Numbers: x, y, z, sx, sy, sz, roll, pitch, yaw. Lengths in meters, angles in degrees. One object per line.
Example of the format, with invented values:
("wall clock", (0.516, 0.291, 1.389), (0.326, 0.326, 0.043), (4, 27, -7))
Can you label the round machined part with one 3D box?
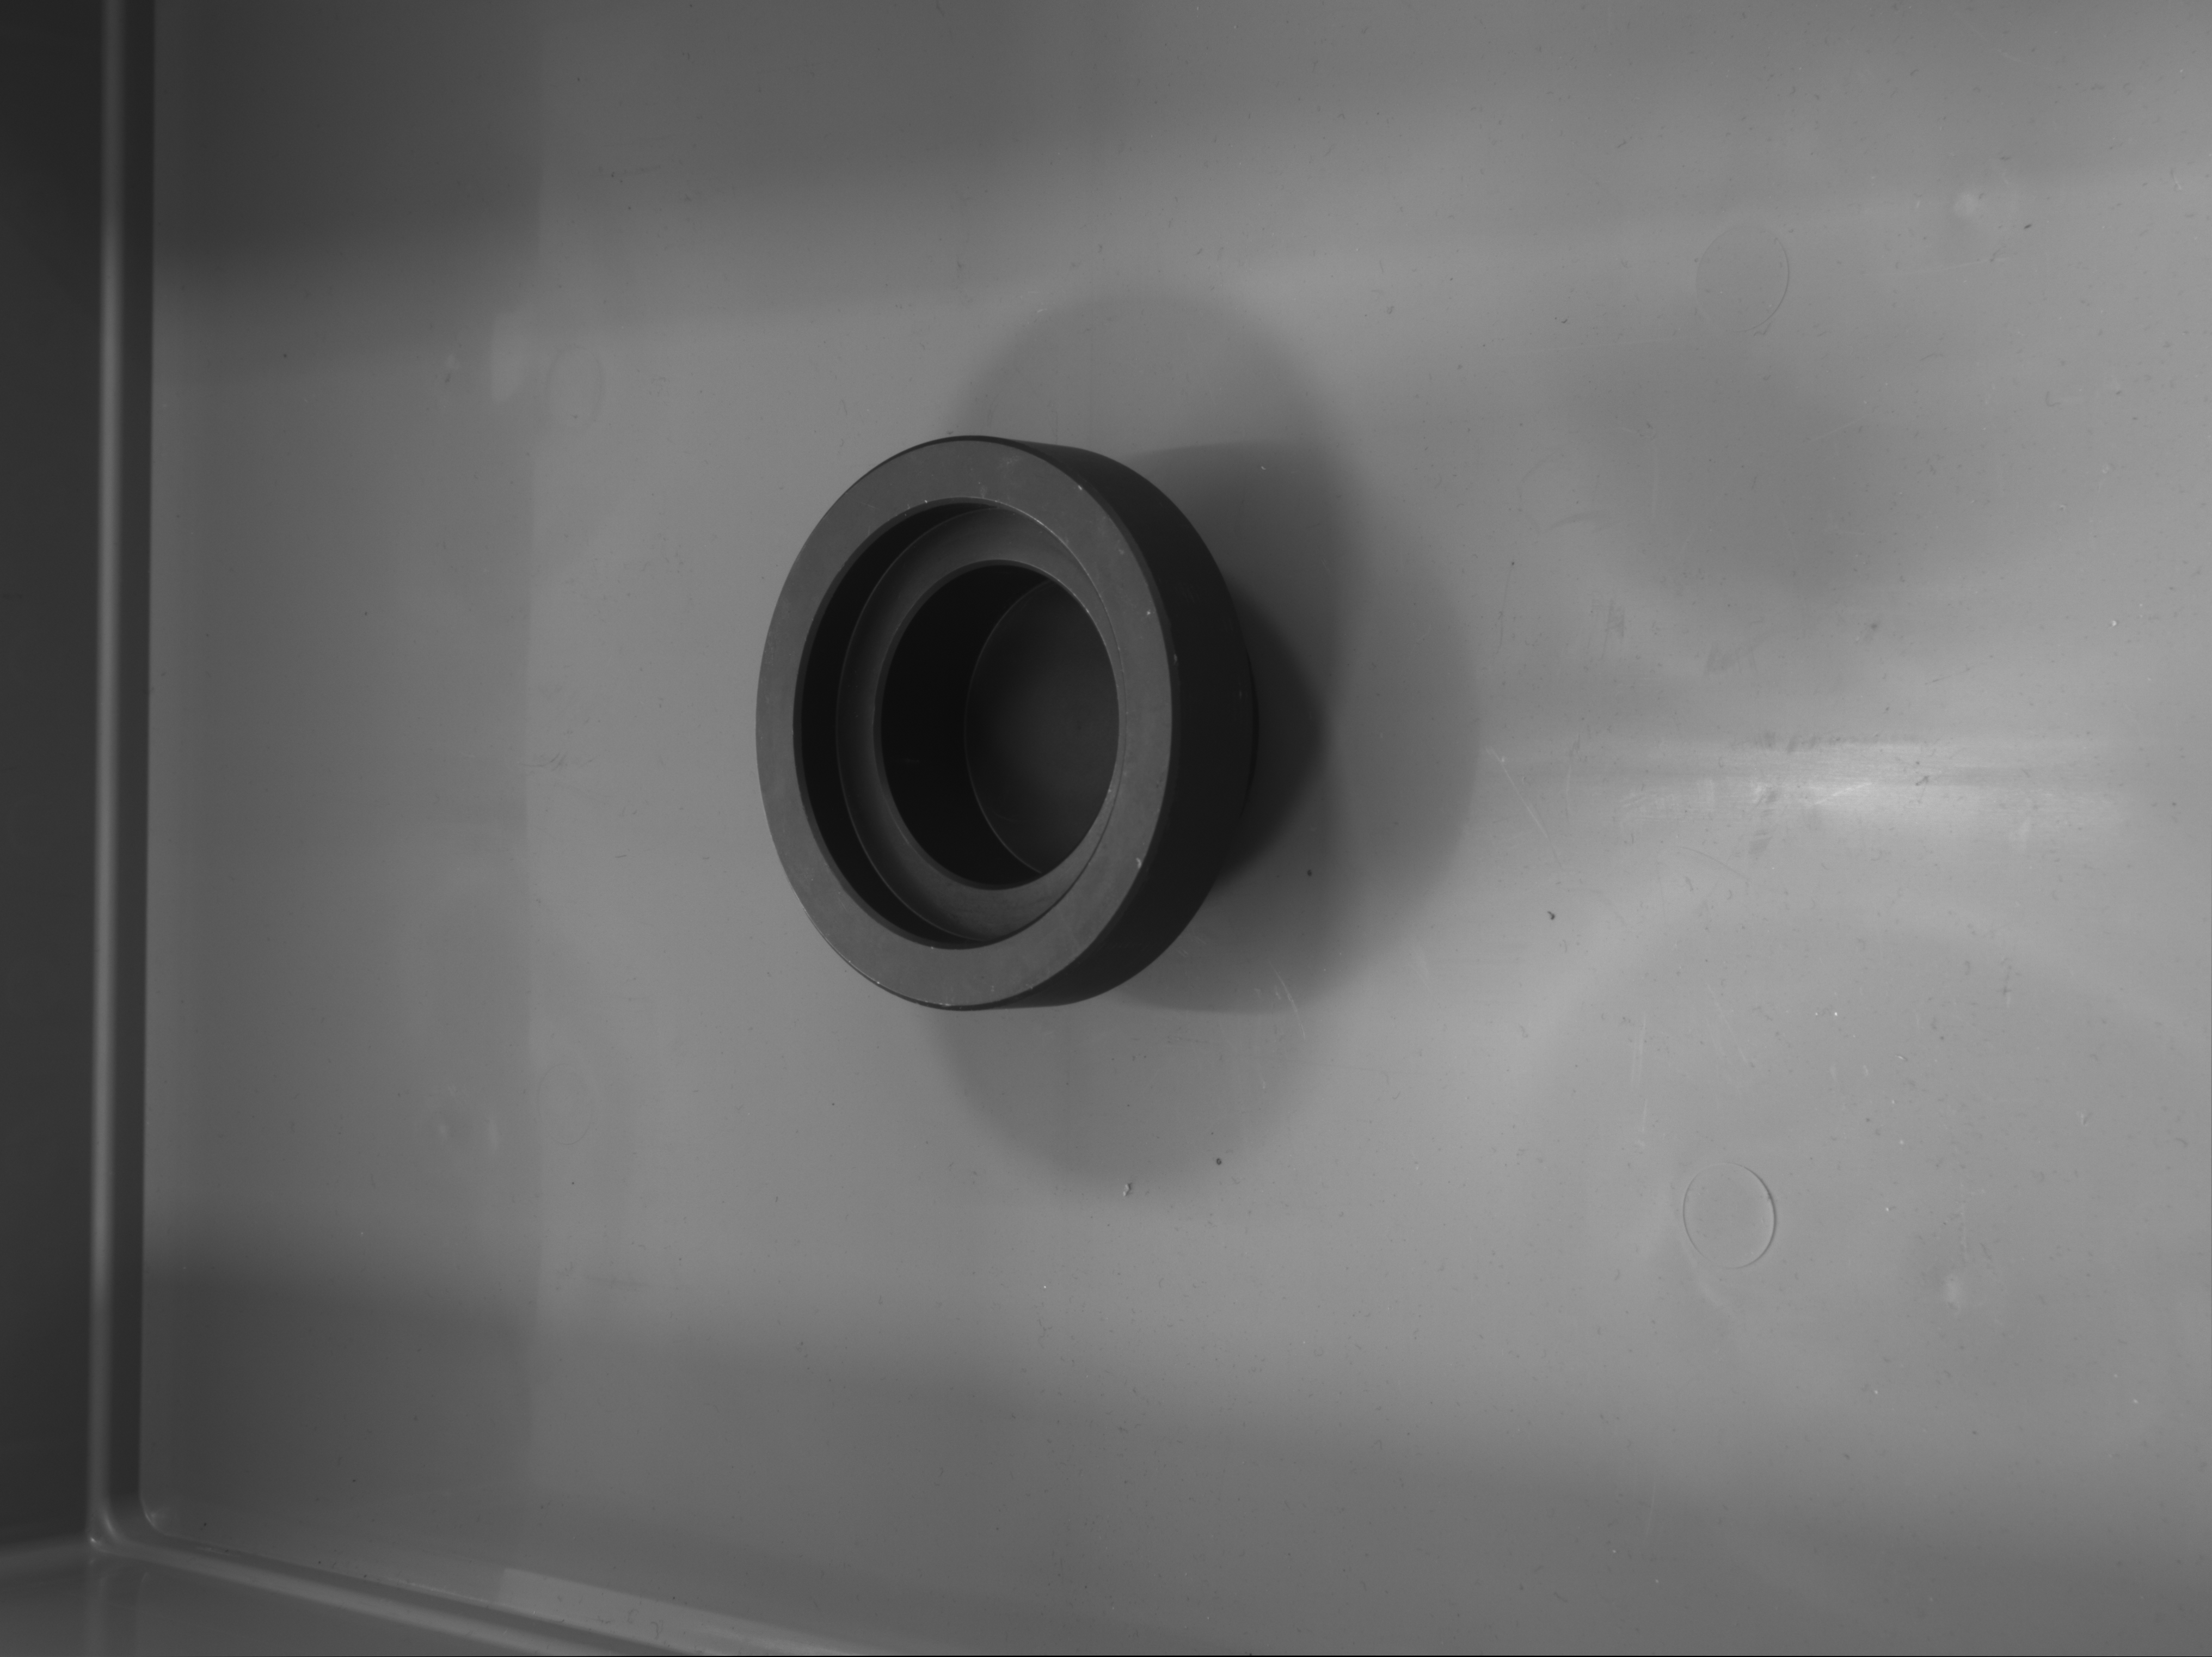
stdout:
("round machined part", (-0.012, -0.018, 0.642), (0.098, 0.042, 0.098), (0, 90, 40))
